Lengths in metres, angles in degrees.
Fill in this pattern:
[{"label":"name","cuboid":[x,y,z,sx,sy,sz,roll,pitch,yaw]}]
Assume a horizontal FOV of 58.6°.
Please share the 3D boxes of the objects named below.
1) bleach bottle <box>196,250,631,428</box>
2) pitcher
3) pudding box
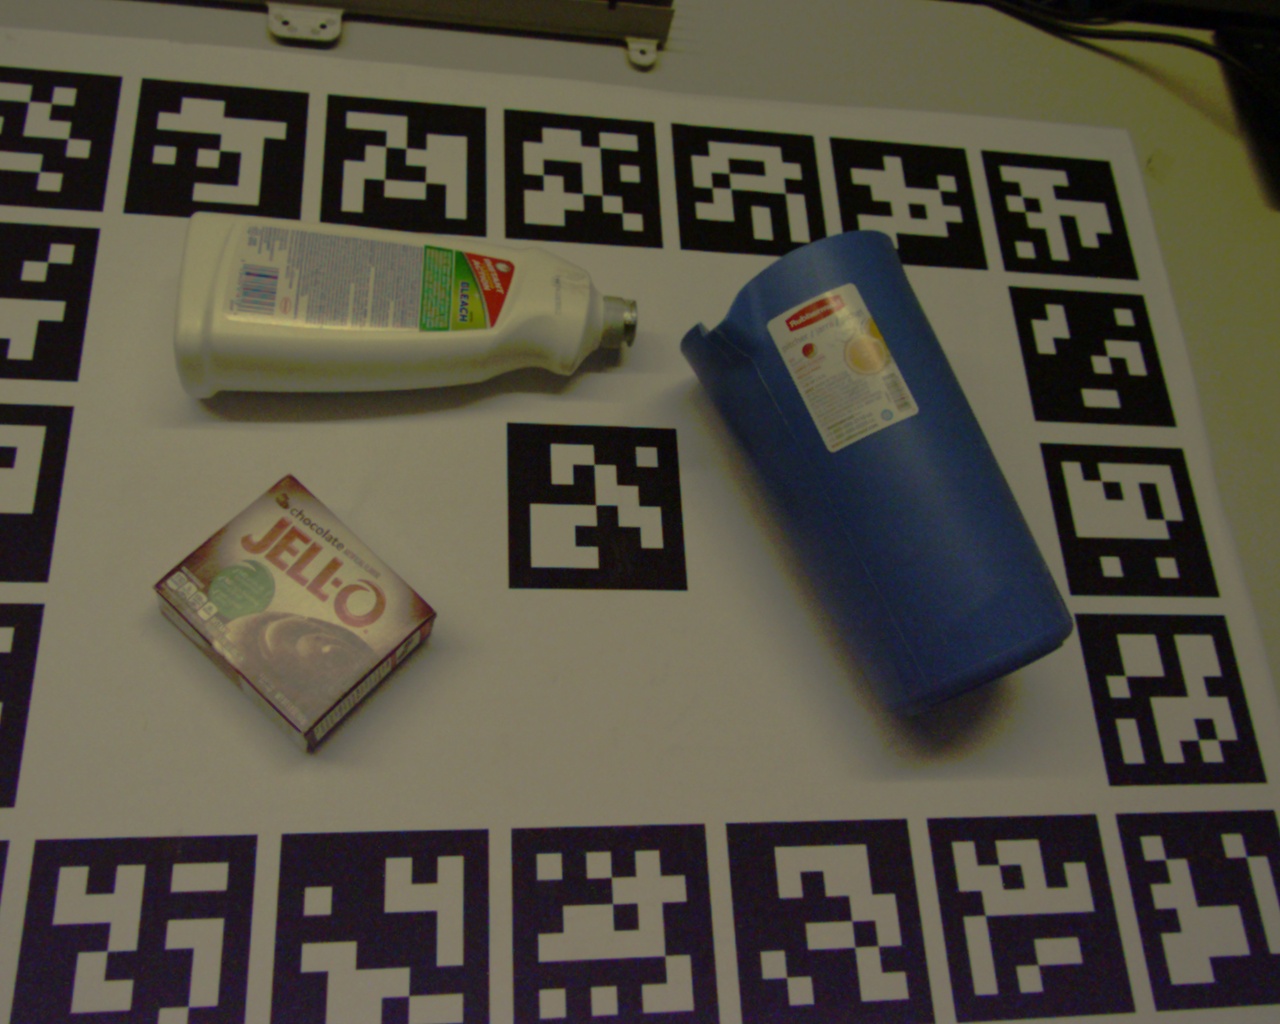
[{"label":"bleach bottle","cuboid":[-0.129,-0.103,0.678,0.249,0.068,0.103,-1,74,-14]},{"label":"pitcher","cuboid":[0.134,-0.003,0.672,0.186,0.134,0.243,-13,74,-52]},{"label":"pudding box","cuboid":[-0.179,0.061,0.611,0.114,0.039,0.089,44,62,6]}]
